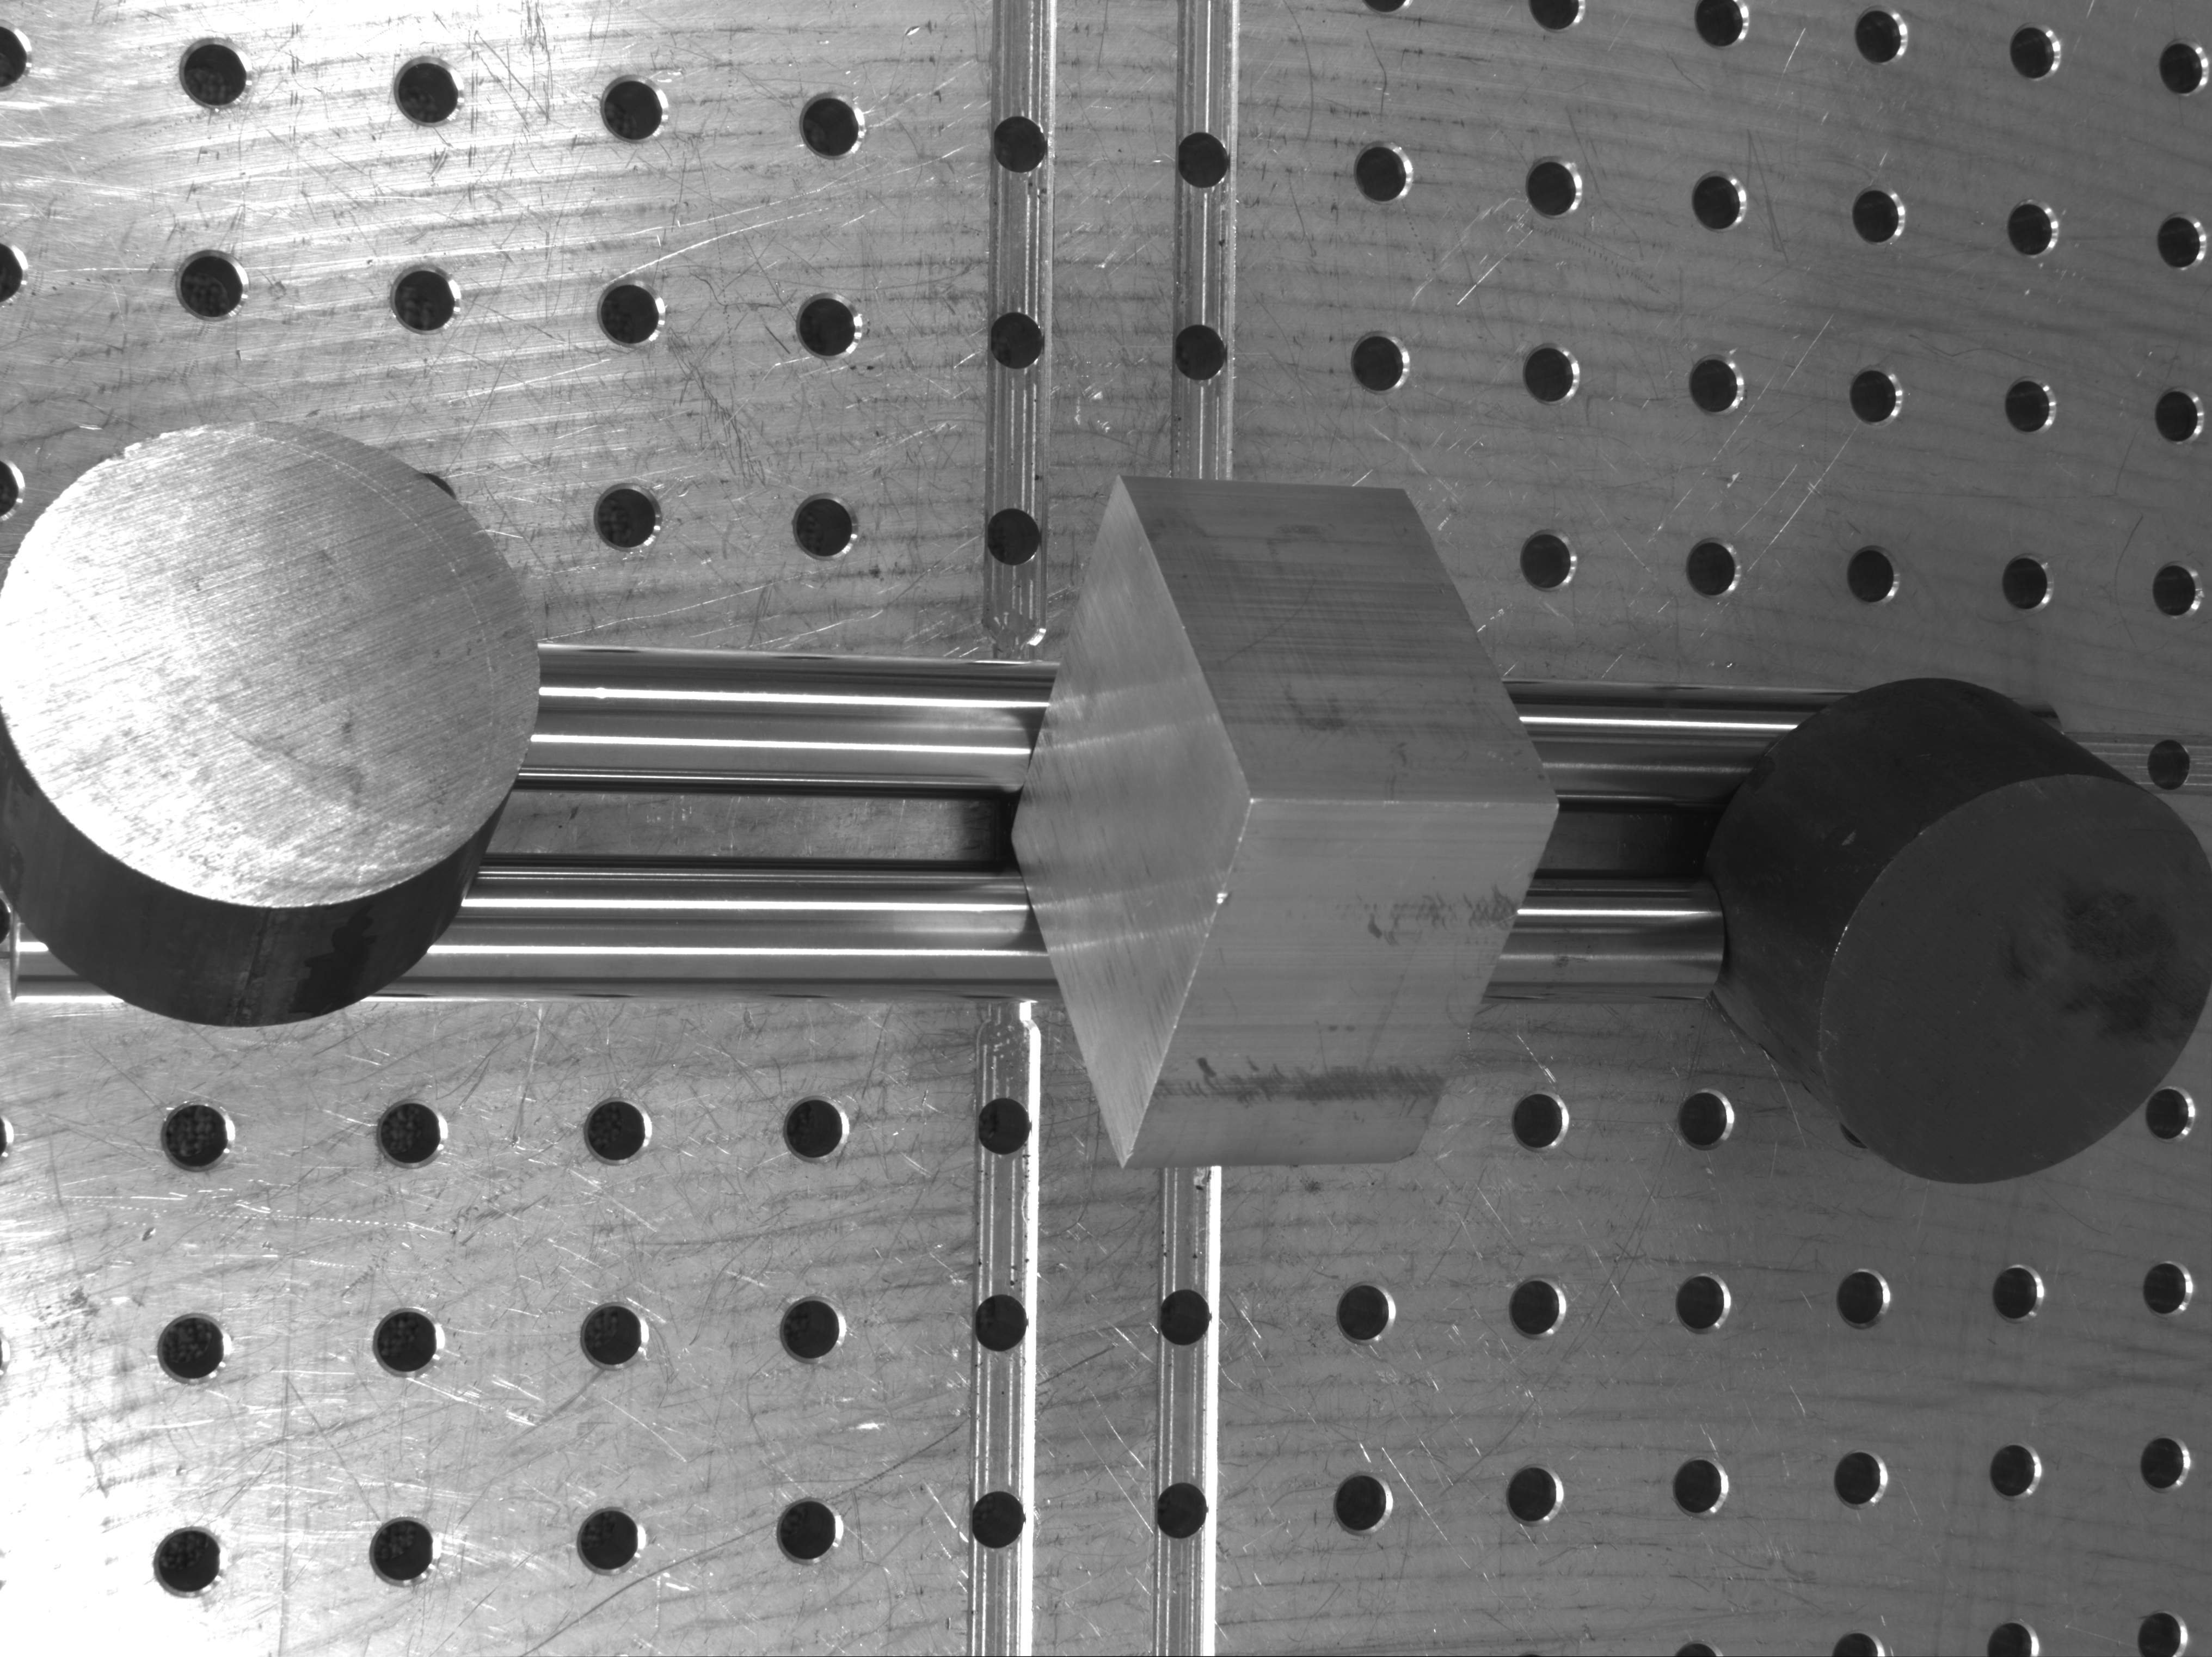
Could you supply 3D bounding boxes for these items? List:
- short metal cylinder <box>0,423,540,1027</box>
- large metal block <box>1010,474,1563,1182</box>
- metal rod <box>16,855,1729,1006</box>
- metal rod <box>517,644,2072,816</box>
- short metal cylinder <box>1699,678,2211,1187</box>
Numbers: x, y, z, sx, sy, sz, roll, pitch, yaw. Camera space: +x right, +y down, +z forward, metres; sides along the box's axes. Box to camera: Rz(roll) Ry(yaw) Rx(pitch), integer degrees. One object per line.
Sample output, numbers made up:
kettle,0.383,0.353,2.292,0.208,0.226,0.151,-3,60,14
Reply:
short metal cylinder,-0.132,-0.015,0.570,0.080,0.050,0.080,8,65,-17
large metal block,0.026,0.000,0.594,0.050,0.080,0.080,1,132,-20
metal rod,-0.031,0.018,0.634,0.301,0.025,0.025,1,90,-20
metal rod,0.039,-0.016,0.659,0.301,0.025,0.025,1,90,-20
short metal cylinder,0.156,0.019,0.675,0.080,0.050,0.080,-7,114,-16
